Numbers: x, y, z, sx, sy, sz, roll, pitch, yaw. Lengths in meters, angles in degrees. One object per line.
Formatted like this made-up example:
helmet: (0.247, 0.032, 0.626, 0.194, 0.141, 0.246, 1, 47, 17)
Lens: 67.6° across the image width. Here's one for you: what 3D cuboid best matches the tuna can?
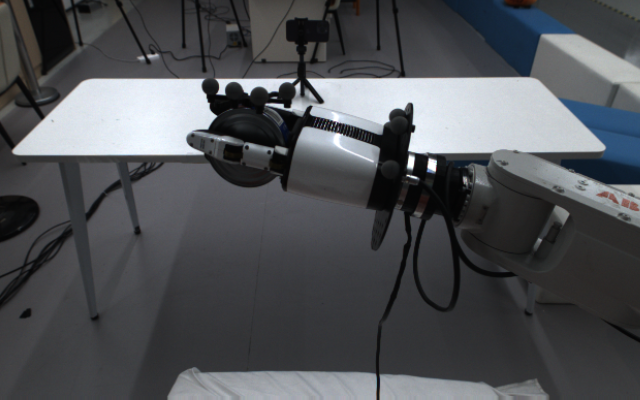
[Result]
tuna can: (-0.073, -0.059, 0.514, 0.085, 0.085, 0.034, 6, 23, 6)
